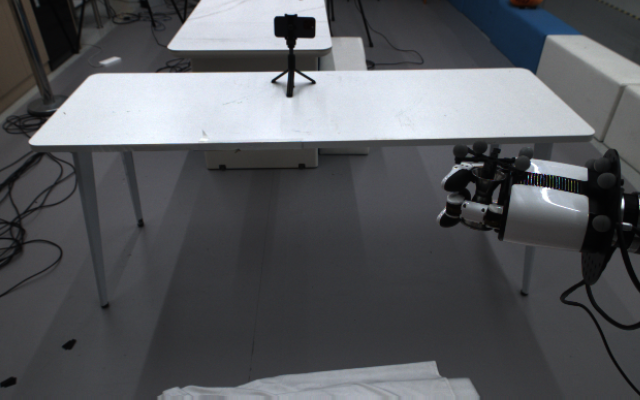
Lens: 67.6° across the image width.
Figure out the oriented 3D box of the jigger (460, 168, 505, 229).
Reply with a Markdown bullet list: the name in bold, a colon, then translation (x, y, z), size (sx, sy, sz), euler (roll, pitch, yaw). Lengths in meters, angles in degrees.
- **jigger**: translation (0.206, -0.003, 0.606), size (0.043, 0.071, 0.043), euler (3, 25, -1)
